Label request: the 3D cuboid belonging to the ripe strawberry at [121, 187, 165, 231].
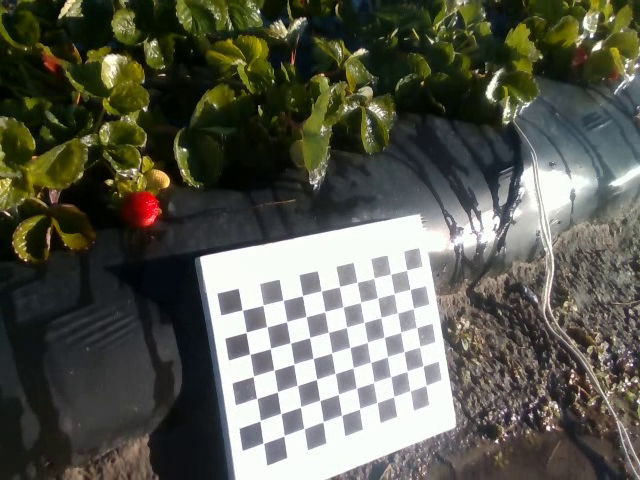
[{"bbox_3d":[-0.141,-0.020,0.467,0.039,0.040,0.039,-21,30,-15],"label":"ripe strawberry"}]
